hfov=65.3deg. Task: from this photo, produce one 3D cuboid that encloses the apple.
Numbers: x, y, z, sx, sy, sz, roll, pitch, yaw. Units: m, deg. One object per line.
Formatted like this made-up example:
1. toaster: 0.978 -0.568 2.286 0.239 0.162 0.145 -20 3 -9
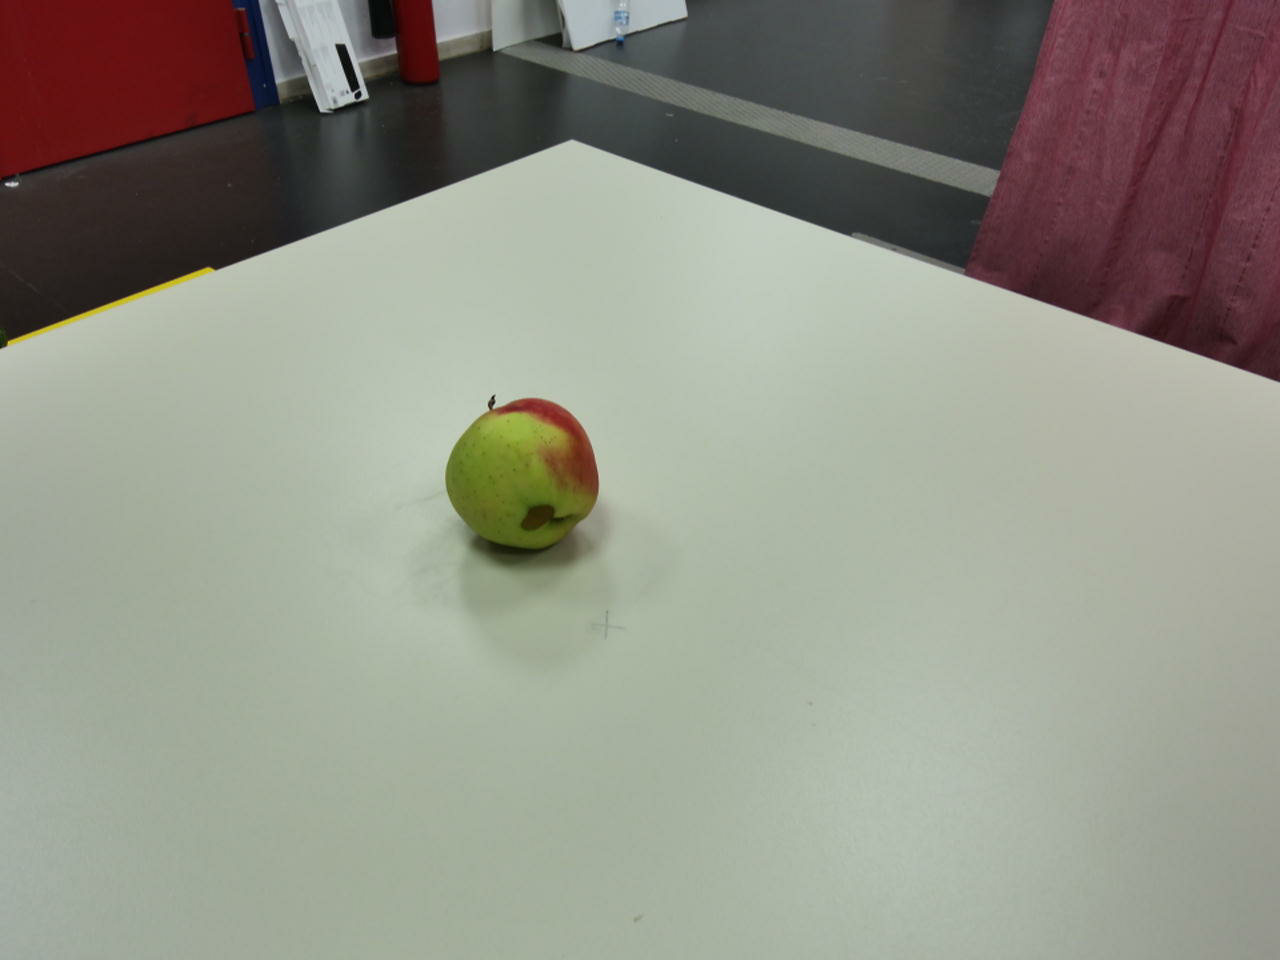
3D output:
1. apple: -0.057 -0.003 0.508 0.075 0.074 0.075 14 39 16
